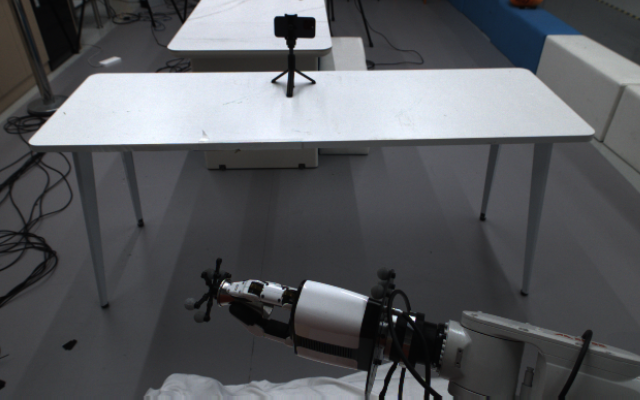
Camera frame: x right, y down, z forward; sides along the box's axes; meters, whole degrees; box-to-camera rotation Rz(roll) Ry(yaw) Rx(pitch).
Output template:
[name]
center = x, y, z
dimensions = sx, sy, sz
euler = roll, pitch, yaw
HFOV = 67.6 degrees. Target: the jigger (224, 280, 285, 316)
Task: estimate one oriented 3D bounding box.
[jigger]
center = -0.093, 0.128, 0.654
dimensions = 0.071, 0.043, 0.043
euler = 10, 35, 16
